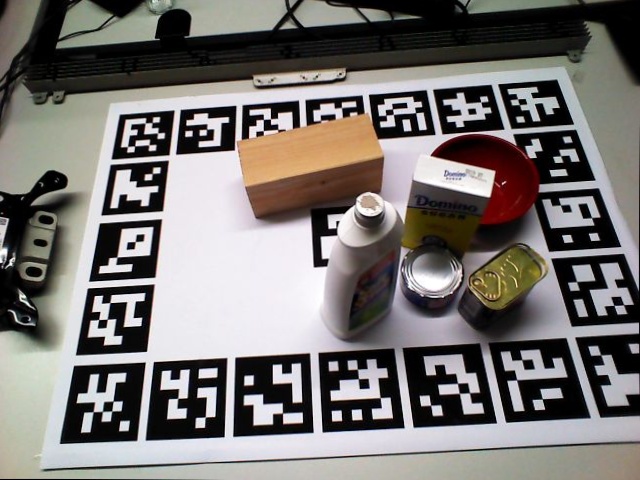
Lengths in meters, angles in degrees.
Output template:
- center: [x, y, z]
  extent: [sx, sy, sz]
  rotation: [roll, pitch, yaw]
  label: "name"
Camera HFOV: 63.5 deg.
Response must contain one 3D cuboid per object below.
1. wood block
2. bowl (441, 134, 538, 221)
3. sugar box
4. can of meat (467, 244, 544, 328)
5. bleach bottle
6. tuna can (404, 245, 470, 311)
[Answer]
- center: [-0.011, -0.109, 0.780]
  extent: [0.206, 0.090, 0.090]
  rotation: [-12, 65, -3]
  label: "wood block"
- center: [0.250, -0.084, 0.758]
  extent: [0.162, 0.055, 0.161]
  rotation: [-4, 60, 7]
  label: "bowl"
- center: [0.171, -0.037, 0.667]
  extent: [0.093, 0.177, 0.045]
  rotation: [13, 64, 16]
  label: "sugar box"
- center: [0.242, 0.059, 0.667]
  extent: [0.101, 0.084, 0.058]
  rotation: [-31, 60, -14]
  label: "can of meat"
- center: [0.051, 0.030, 0.601]
  extent: [0.102, 0.251, 0.068]
  rotation: [-27, 61, -10]
  label: "bleach bottle"
- center: [0.156, 0.052, 0.699]
  extent: [0.086, 0.034, 0.085]
  rotation: [-2, 64, 4]
  label: "tuna can"
